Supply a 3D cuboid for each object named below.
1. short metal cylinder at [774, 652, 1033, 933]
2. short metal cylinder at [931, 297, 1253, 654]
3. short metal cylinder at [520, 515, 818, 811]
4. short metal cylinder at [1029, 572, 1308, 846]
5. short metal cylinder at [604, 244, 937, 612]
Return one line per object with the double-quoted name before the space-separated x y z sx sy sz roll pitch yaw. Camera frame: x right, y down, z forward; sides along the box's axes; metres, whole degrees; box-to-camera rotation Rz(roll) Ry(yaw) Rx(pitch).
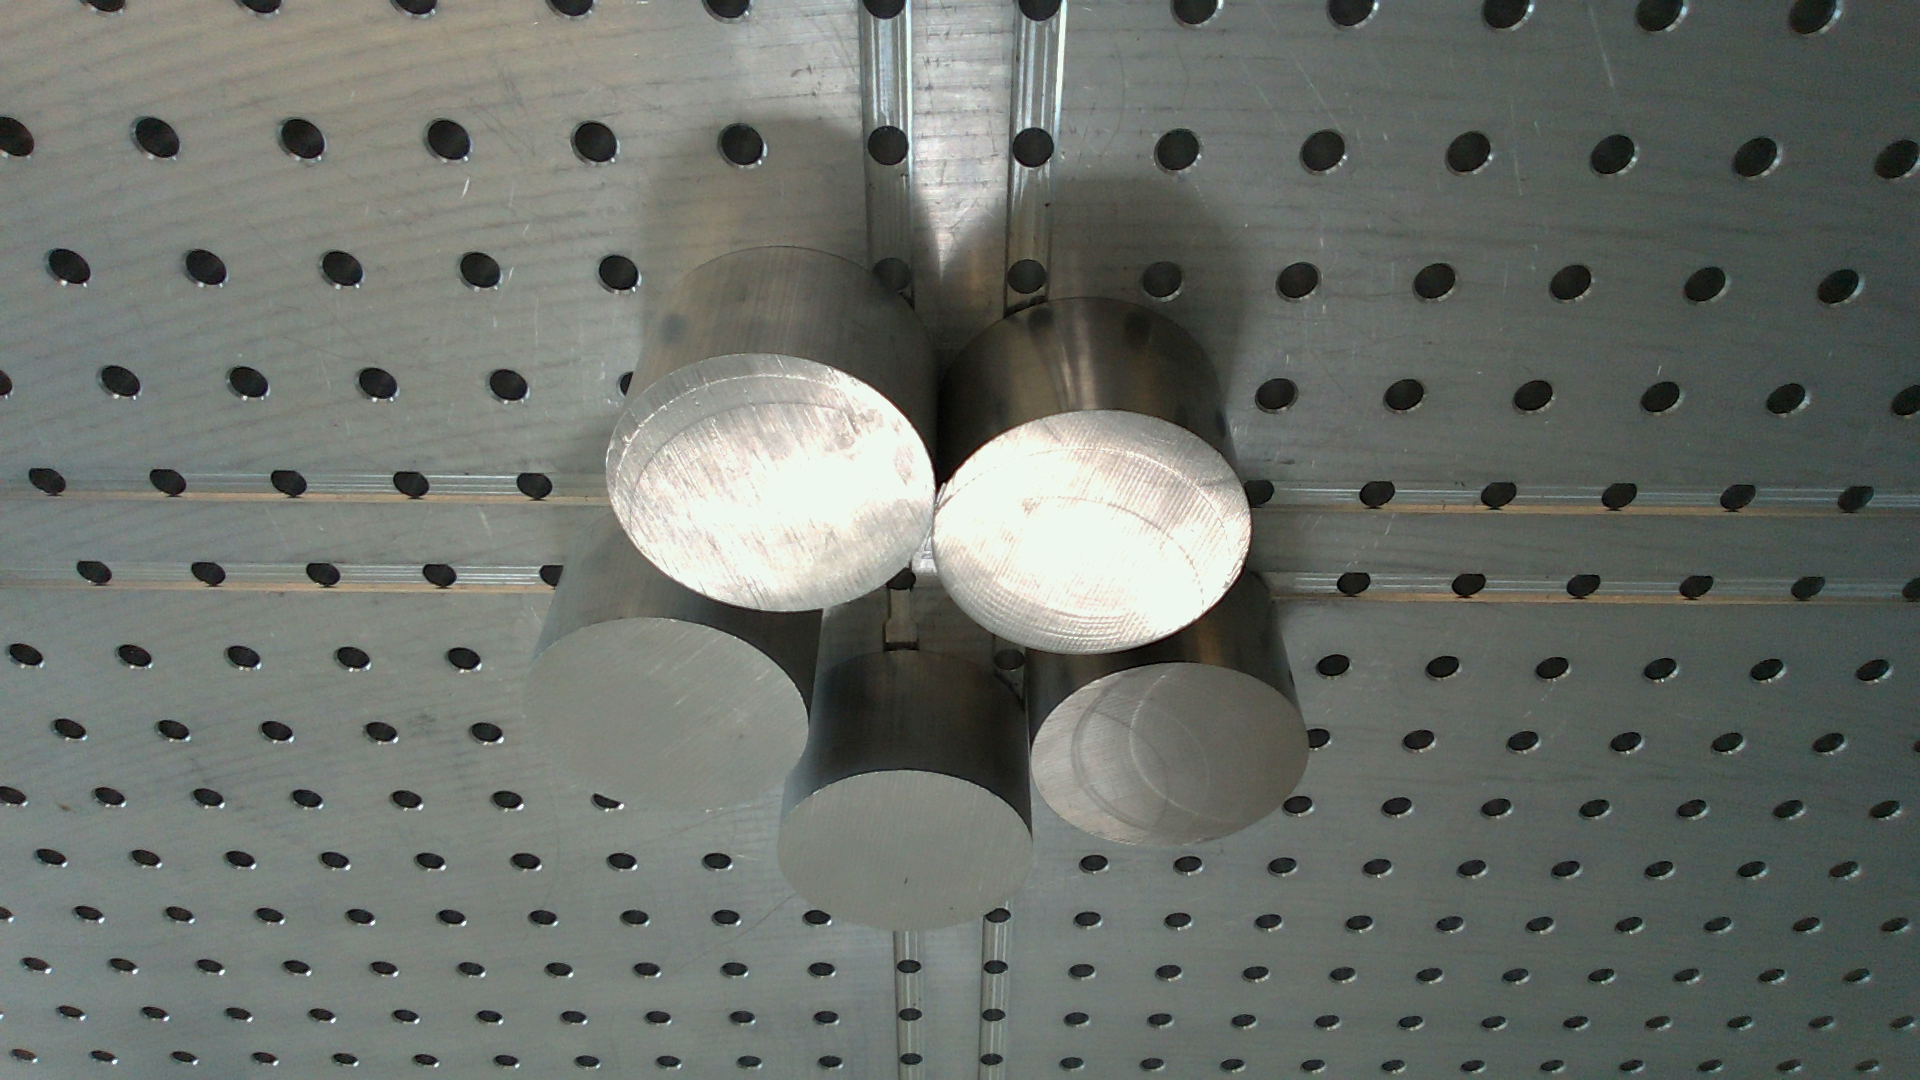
"short metal cylinder" -0.017 0.083 0.446 0.080 0.050 0.080 0 130 1
"short metal cylinder" 0.033 -0.016 0.363 0.080 0.050 0.080 0 130 0
"short metal cylinder" -0.083 0.035 0.406 0.080 0.050 0.080 0 130 0
"short metal cylinder" 0.060 0.048 0.417 0.080 0.050 0.080 0 131 0
"short metal cylinder" -0.046 -0.028 0.353 0.080 0.050 0.080 0 130 0
